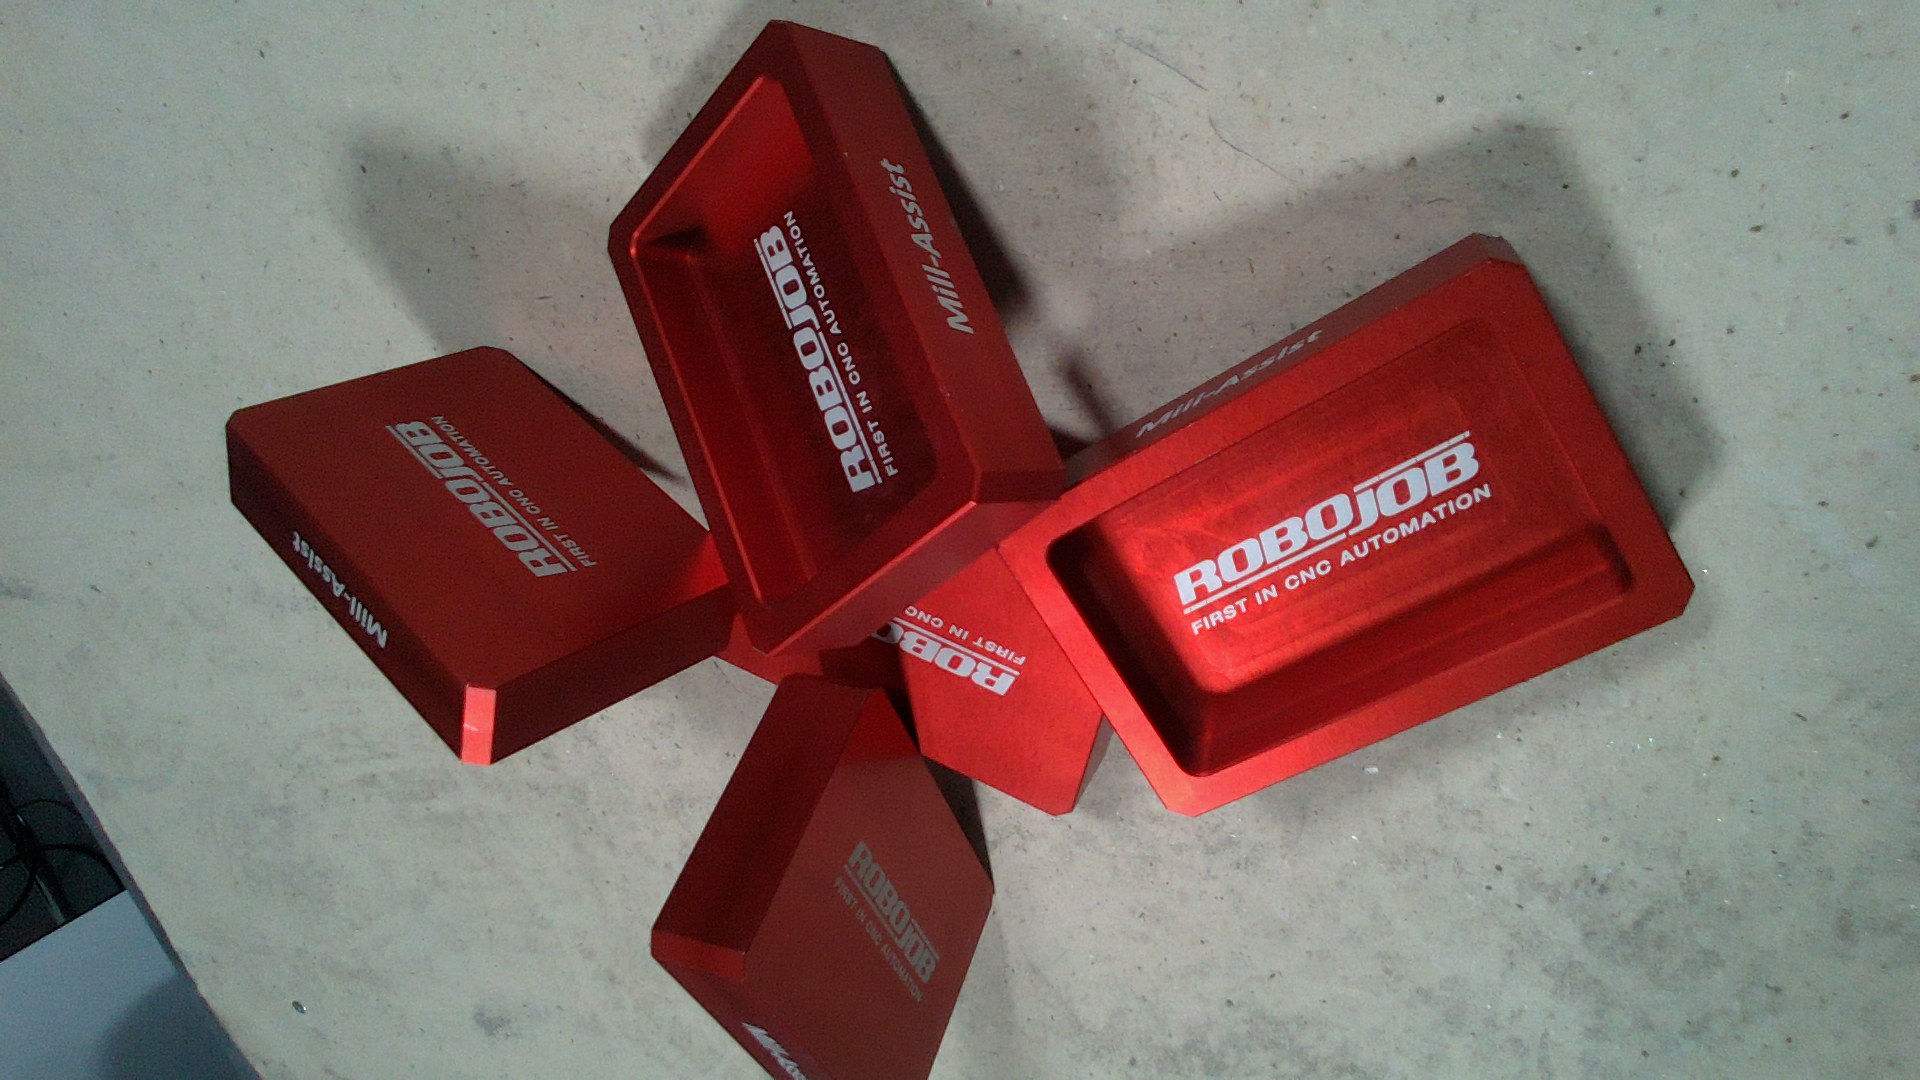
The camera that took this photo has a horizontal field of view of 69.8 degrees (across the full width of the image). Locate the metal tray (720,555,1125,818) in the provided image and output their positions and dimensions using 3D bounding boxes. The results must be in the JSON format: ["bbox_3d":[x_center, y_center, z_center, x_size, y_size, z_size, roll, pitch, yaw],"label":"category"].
[{"bbox_3d":[-0.012,0.017,0.407,0.130,0.030,0.090,23,127,14],"label":"metal tray"}]

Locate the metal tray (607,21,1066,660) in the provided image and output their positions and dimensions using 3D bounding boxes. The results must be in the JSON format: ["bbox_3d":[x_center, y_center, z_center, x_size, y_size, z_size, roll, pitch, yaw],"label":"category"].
[{"bbox_3d":[-0.036,-0.047,0.342,0.090,0.030,0.130,-36,69,39],"label":"metal tray"}]

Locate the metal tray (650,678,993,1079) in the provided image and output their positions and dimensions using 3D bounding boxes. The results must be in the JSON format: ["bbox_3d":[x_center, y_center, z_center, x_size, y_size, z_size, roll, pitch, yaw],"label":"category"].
[{"bbox_3d":[-0.034,0.114,0.415,0.030,0.090,0.130,6,142,26],"label":"metal tray"}]

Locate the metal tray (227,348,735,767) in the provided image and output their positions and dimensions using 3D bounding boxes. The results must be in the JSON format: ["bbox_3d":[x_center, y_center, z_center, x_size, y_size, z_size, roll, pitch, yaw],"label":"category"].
[{"bbox_3d":[-0.139,-0.002,0.405,0.130,0.090,0.030,39,131,23],"label":"metal tray"}]

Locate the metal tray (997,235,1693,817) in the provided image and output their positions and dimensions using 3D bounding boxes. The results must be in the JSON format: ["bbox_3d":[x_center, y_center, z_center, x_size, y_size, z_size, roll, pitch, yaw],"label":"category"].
[{"bbox_3d":[0.086,0.001,0.323,0.130,0.030,0.090,-28,103,22],"label":"metal tray"}]
